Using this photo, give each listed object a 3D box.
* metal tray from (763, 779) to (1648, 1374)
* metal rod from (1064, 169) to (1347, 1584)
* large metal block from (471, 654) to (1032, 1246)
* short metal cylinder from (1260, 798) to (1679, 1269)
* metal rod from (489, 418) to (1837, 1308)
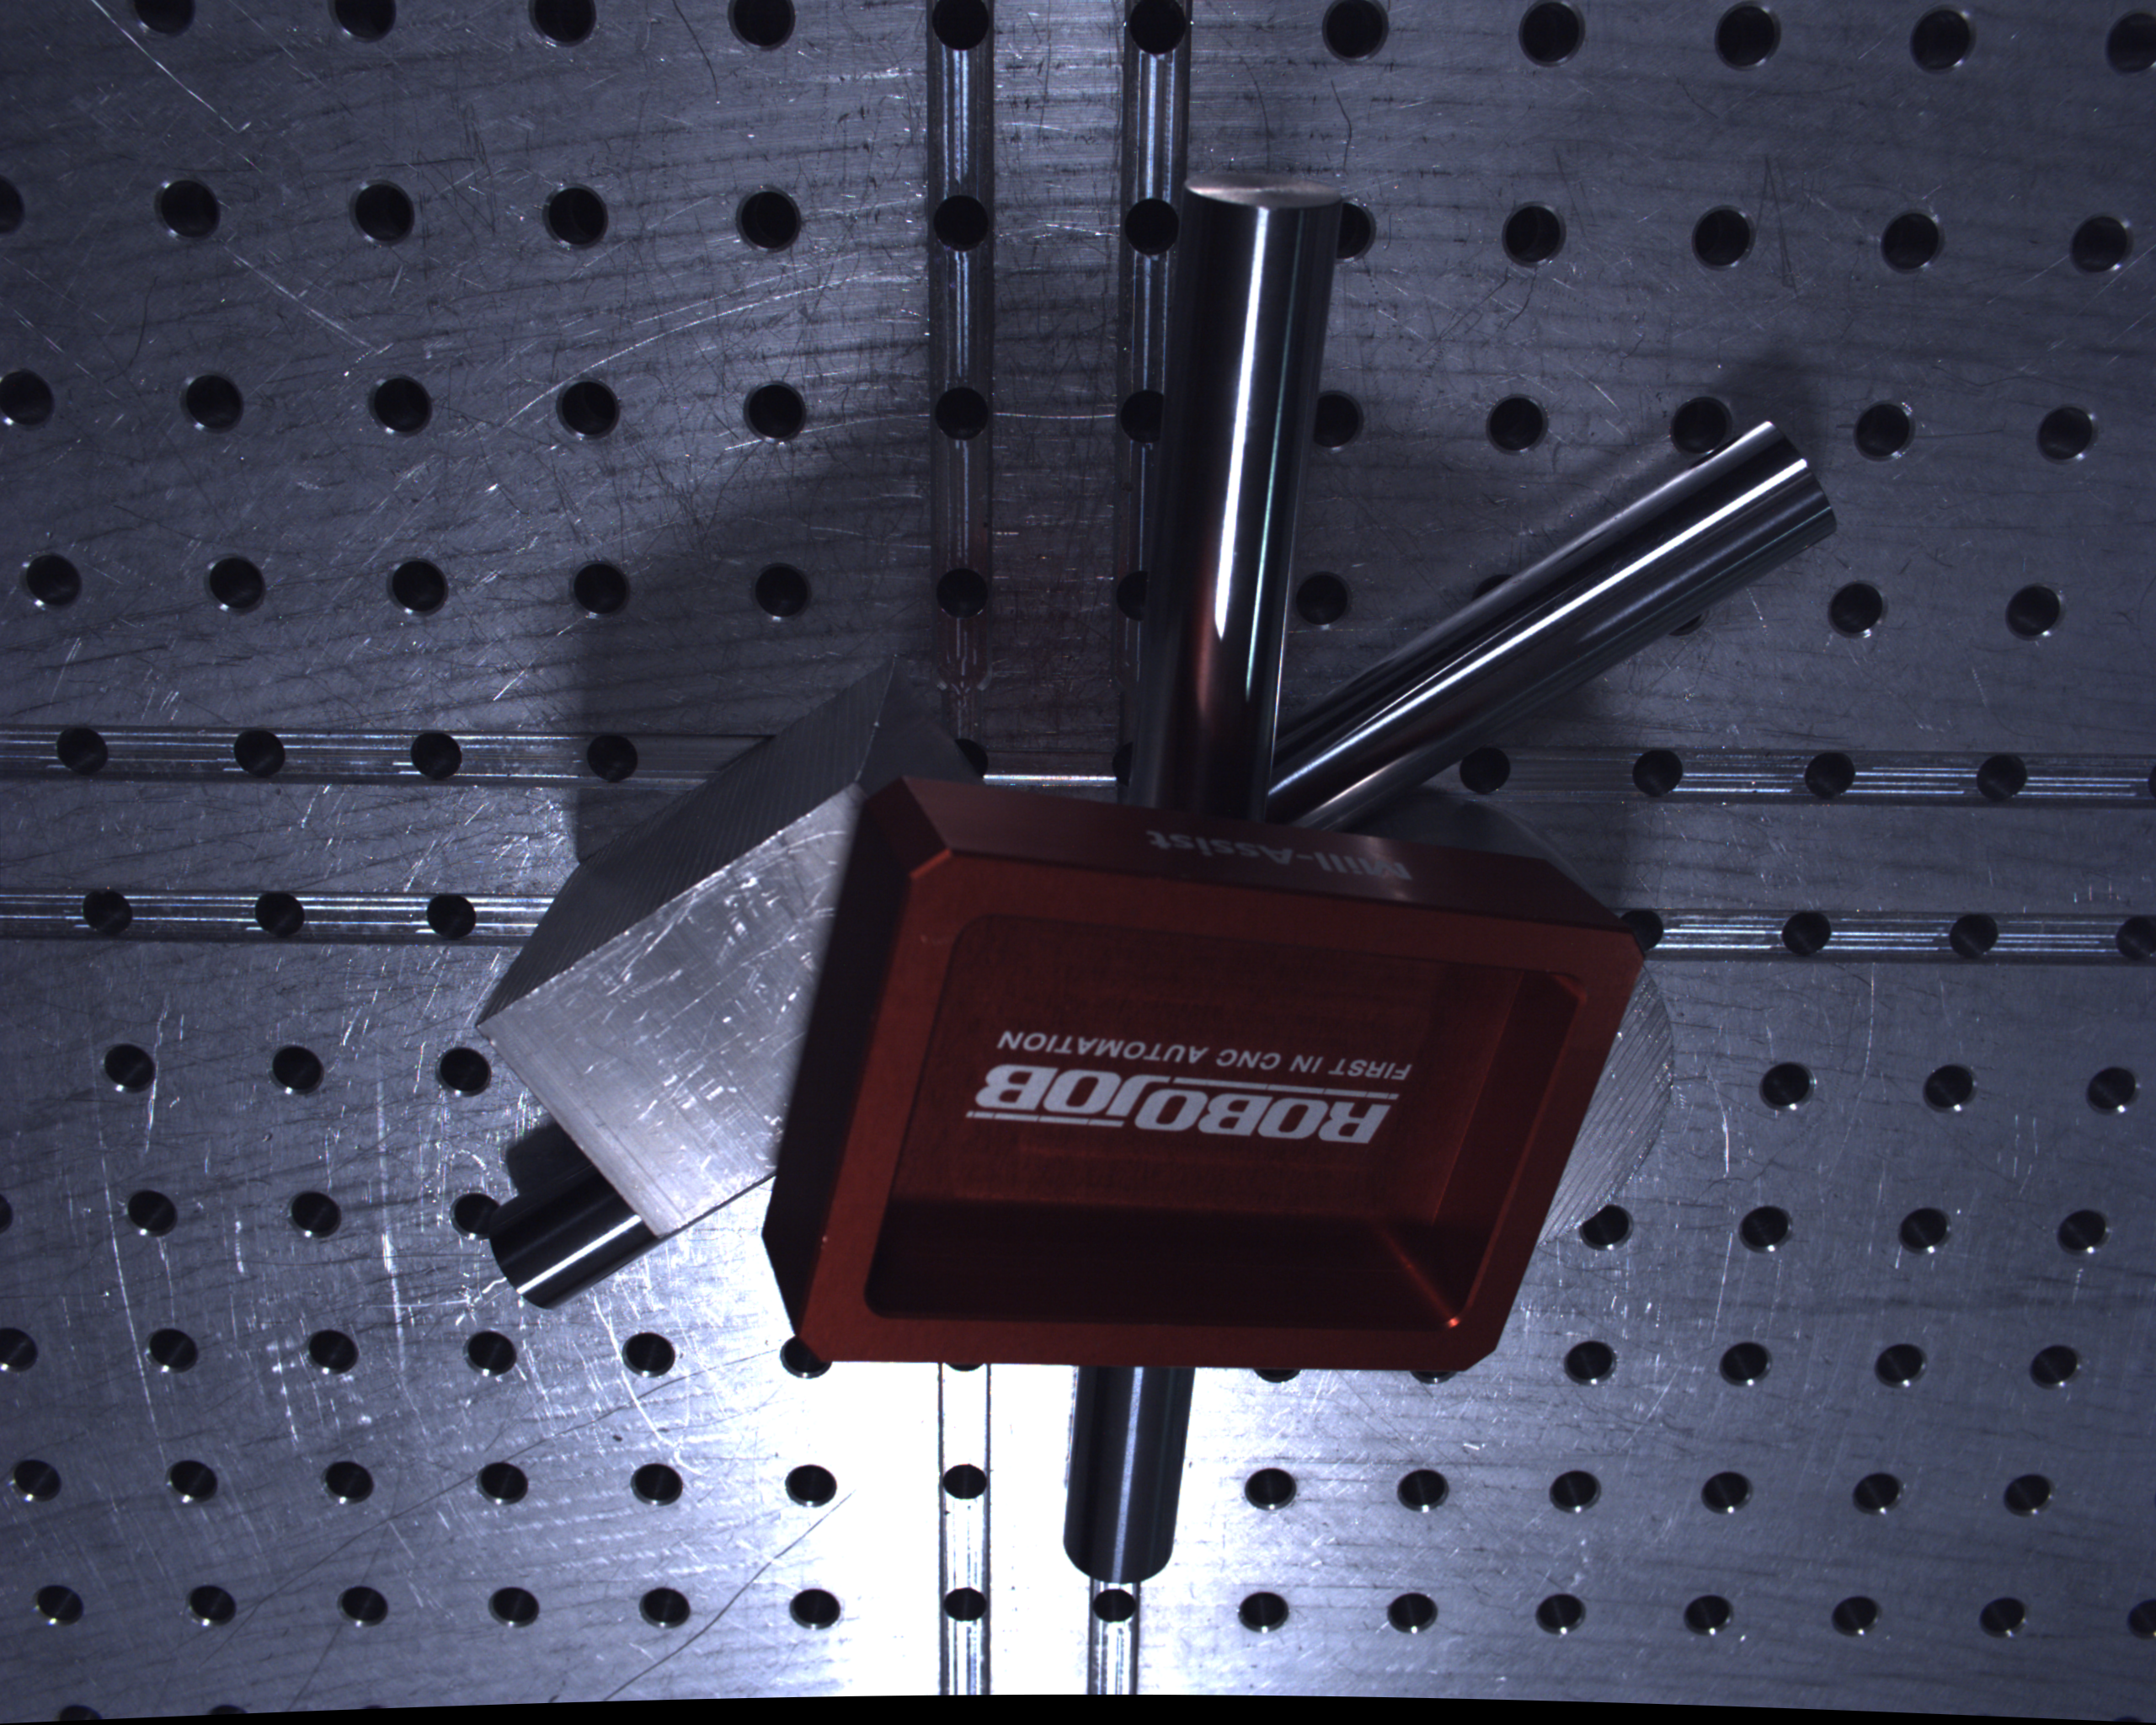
[{"bbox_3d":[0.021,0.040,0.350,0.131,0.030,0.089,7,111,-23],"label":"metal tray"},{"bbox_3d":[0.019,0.024,0.398,0.025,0.025,0.298,3,119,-2],"label":"metal rod"},{"bbox_3d":[-0.055,0.013,0.387,0.080,0.080,0.050,-32,107,11],"label":"large metal block"},{"bbox_3d":[0.072,0.033,0.412,0.081,0.050,0.079,0,110,-1],"label":"short metal cylinder"},{"bbox_3d":[0.009,0.006,0.416,0.300,0.025,0.025,-32,107,10],"label":"metal rod"}]
